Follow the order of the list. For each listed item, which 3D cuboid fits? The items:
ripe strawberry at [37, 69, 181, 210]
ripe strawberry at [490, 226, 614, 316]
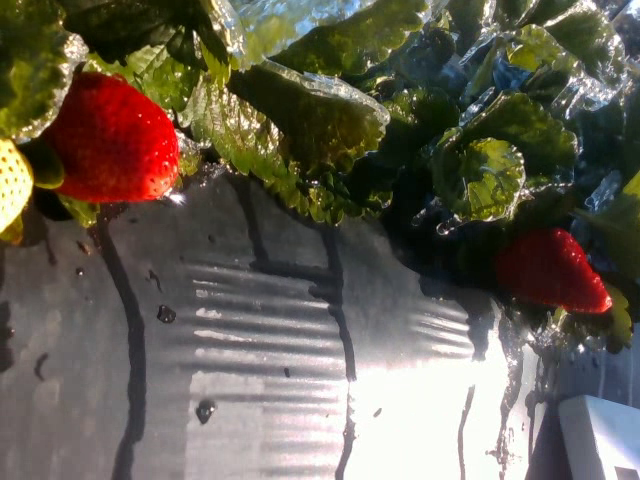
[{"bbox_3d":[-0.054,-0.024,0.150,0.037,0.040,0.051,5,15,-36],"label":"ripe strawberry"},{"bbox_3d":[0.107,0.017,0.255,0.041,0.047,0.053,14,20,-33],"label":"ripe strawberry"}]
